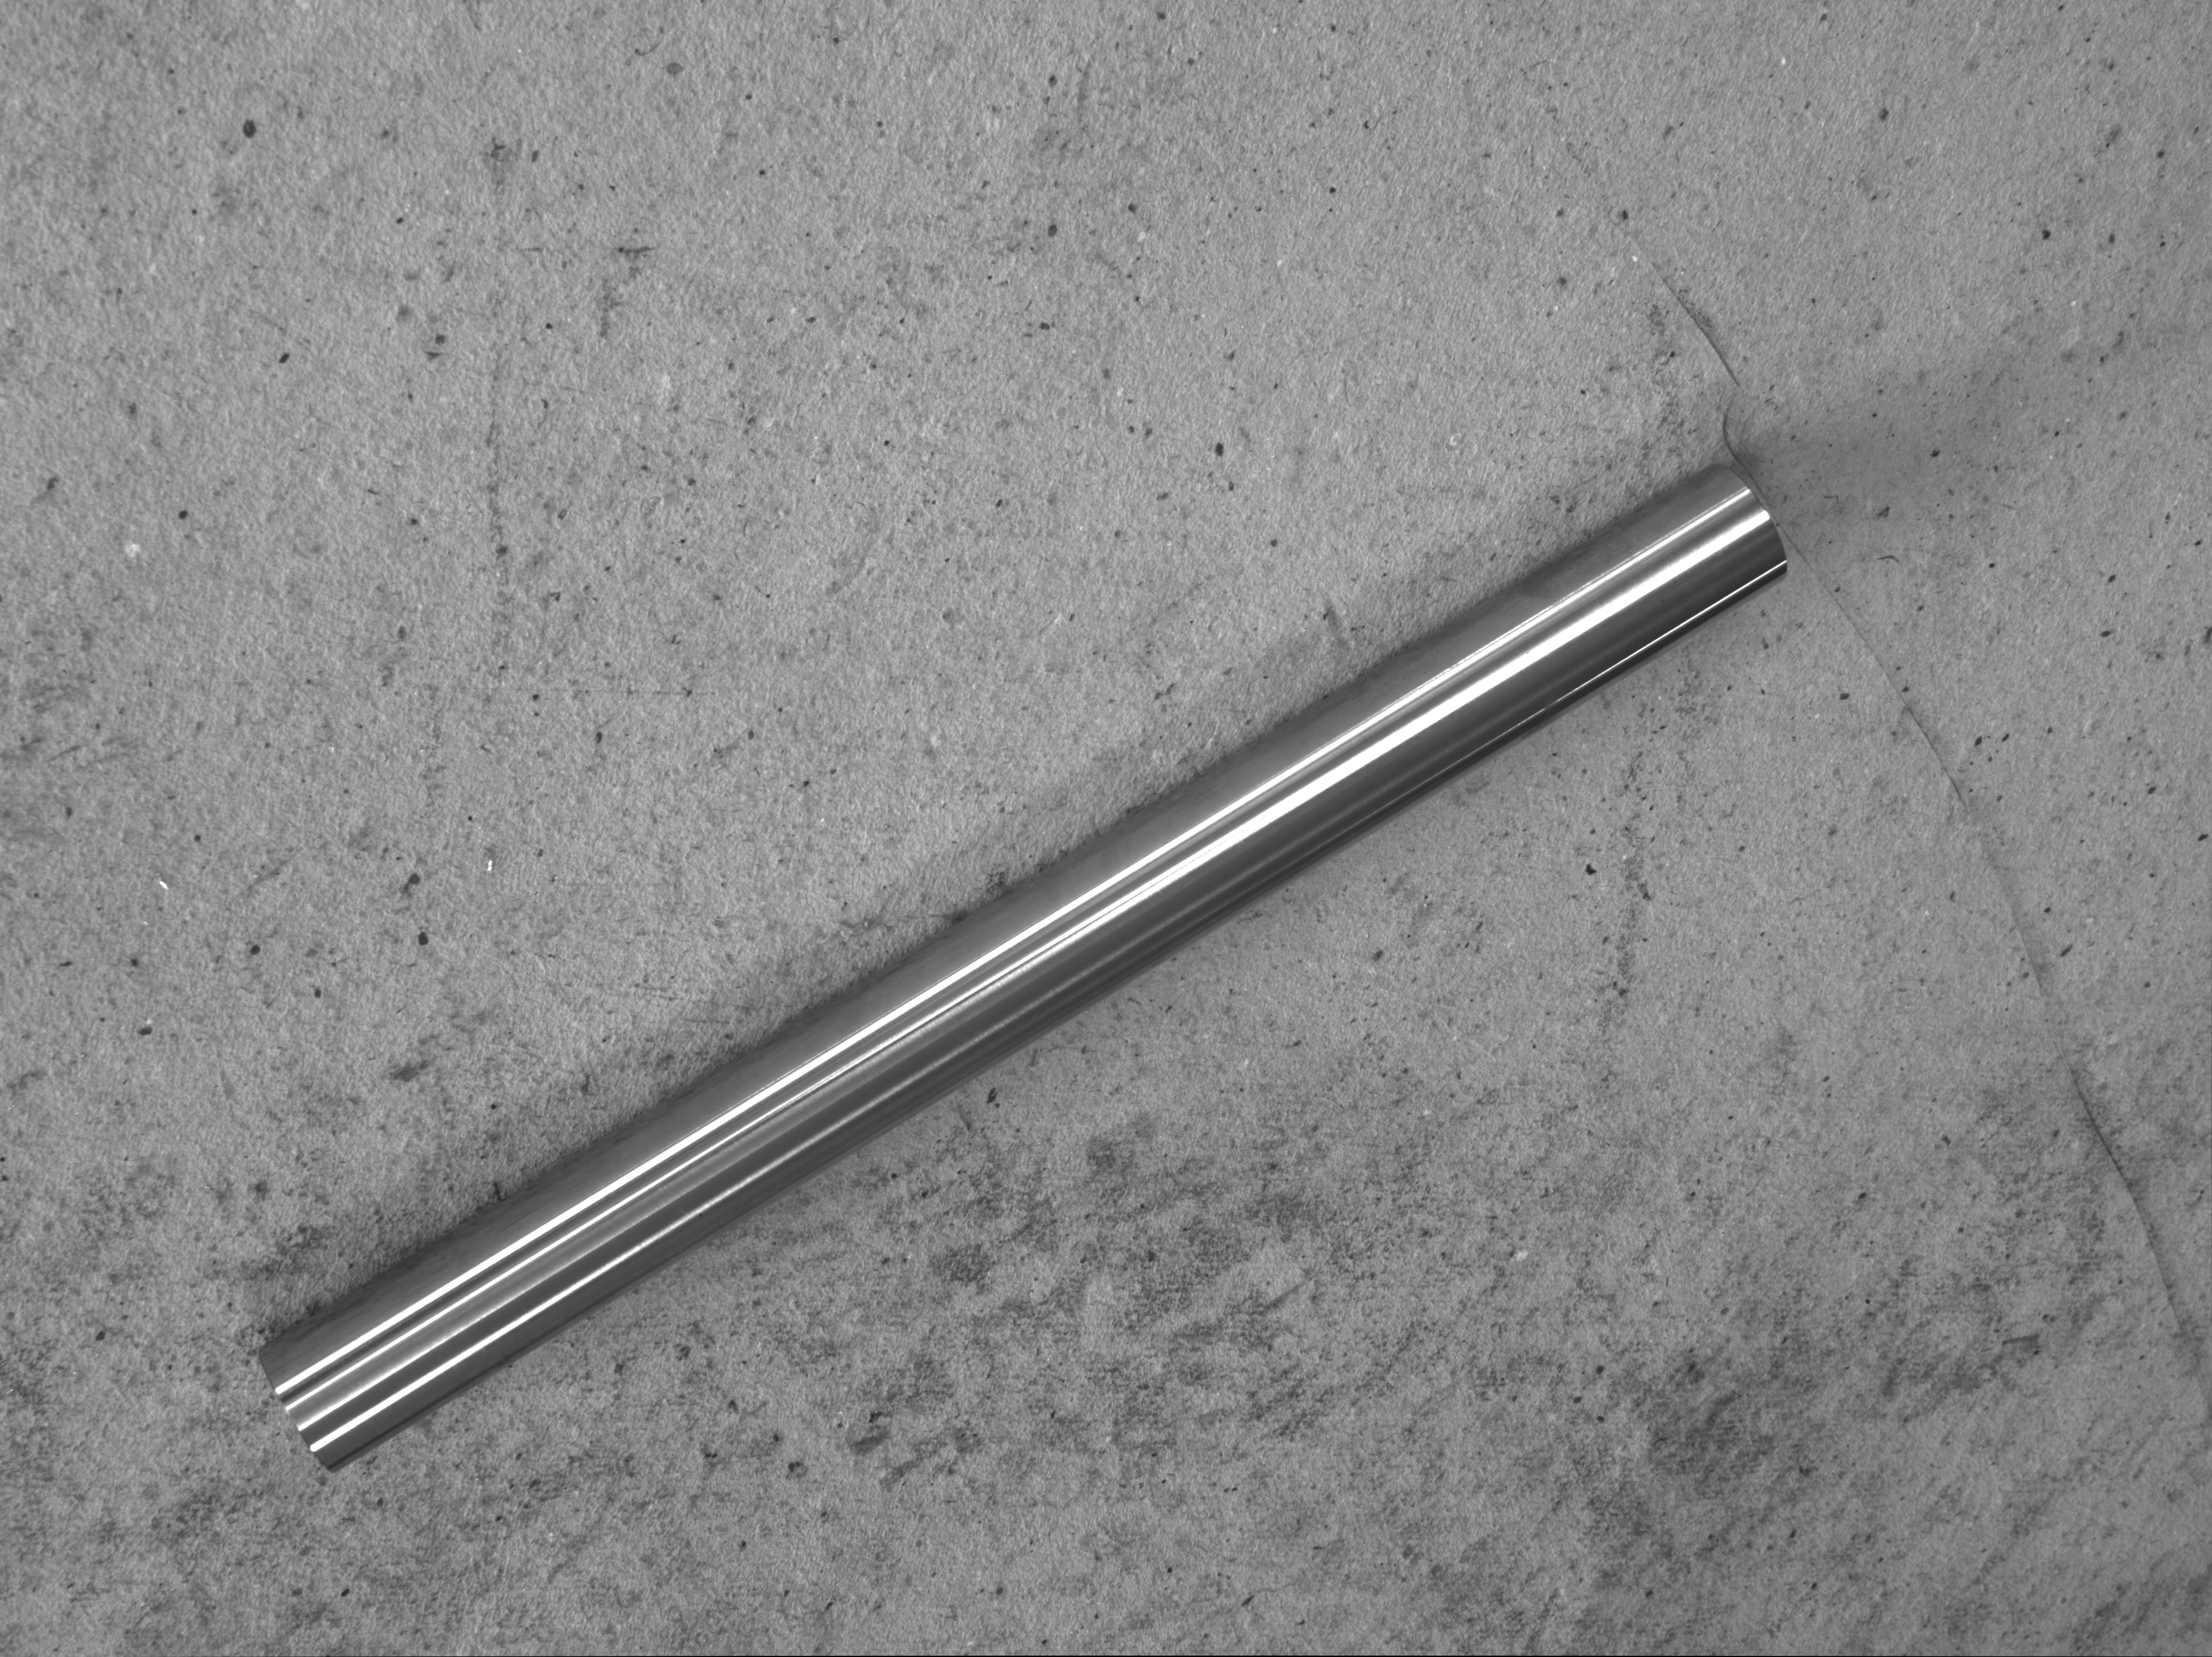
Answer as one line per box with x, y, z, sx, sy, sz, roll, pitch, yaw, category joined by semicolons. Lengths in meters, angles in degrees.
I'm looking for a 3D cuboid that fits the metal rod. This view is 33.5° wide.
-0.012;0.022;0.645;0.300;0.025;0.025;-31;128;-8;metal rod
